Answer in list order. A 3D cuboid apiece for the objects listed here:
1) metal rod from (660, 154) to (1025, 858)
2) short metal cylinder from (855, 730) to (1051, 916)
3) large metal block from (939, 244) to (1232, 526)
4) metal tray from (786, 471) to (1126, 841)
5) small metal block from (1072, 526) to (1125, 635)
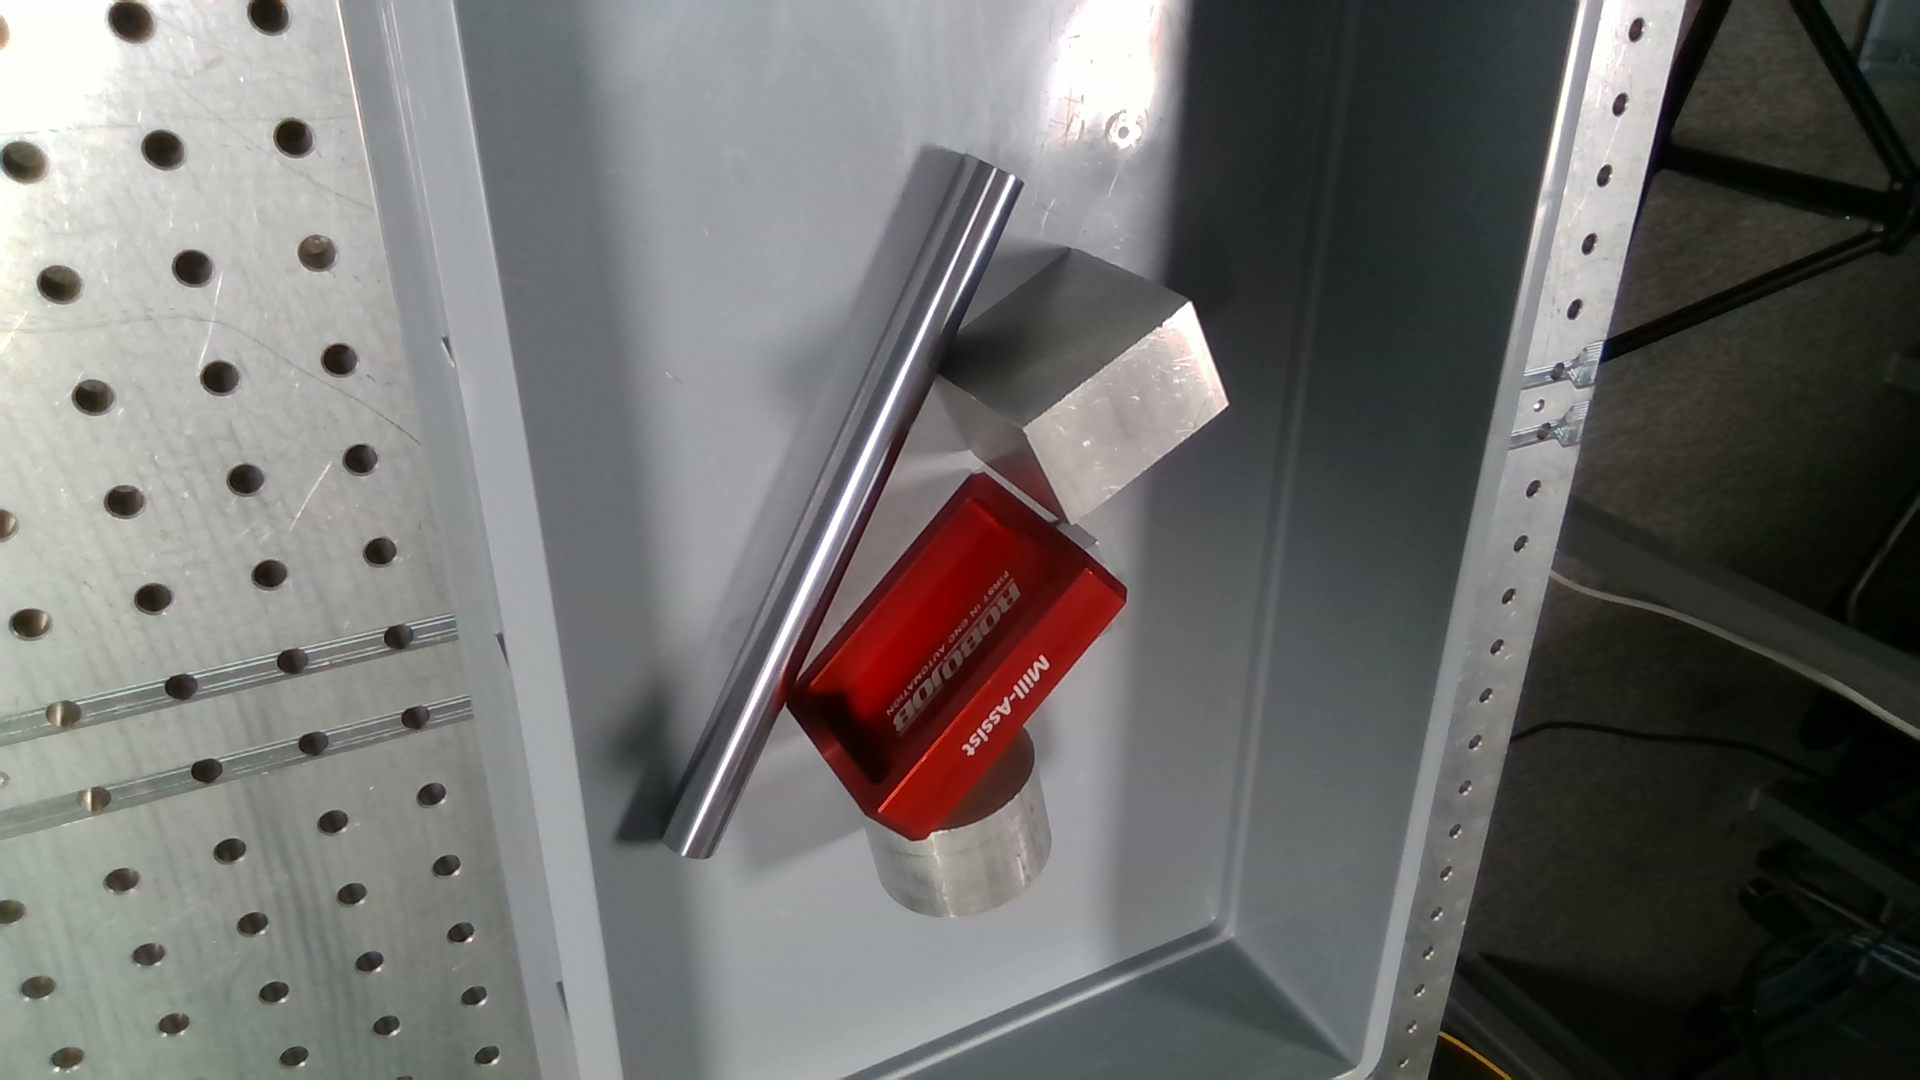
[{"bbox_3d":[-0.051,-0.006,0.545,0.025,0.025,0.300,16,106,-37],"label":"metal rod"},{"bbox_3d":[-0.003,0.117,0.605,0.080,0.080,0.050,-25,124,-18],"label":"short metal cylinder"},{"bbox_3d":[0.044,-0.063,0.537,0.080,0.080,0.050,-37,128,-9],"label":"large metal block"},{"bbox_3d":[-0.004,0.044,0.558,0.130,0.090,0.030,-50,130,1],"label":"metal tray"},{"bbox_3d":[0.041,0.026,0.617,0.050,0.025,0.050,-32,127,-13],"label":"small metal block"}]
